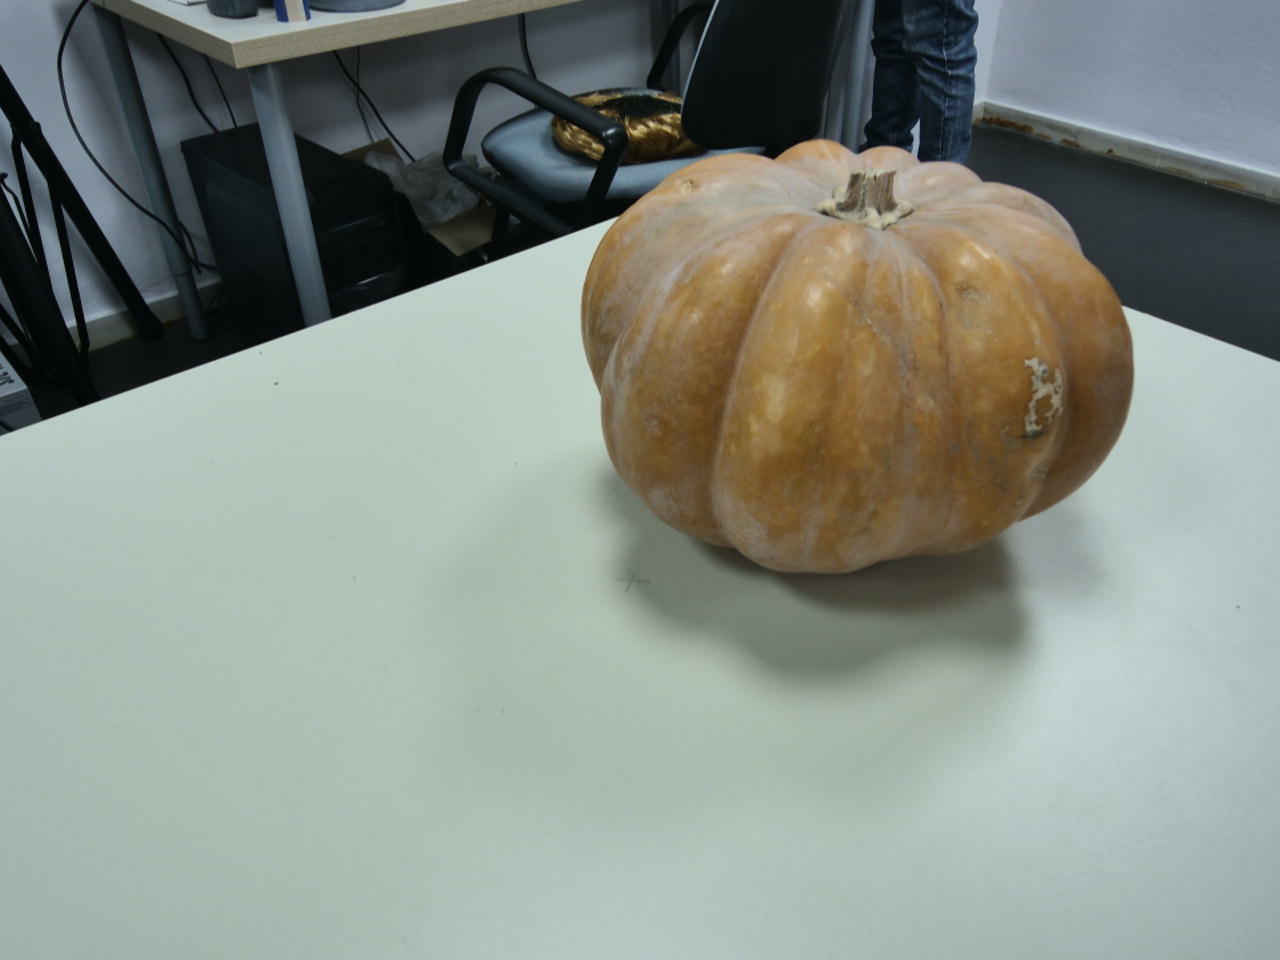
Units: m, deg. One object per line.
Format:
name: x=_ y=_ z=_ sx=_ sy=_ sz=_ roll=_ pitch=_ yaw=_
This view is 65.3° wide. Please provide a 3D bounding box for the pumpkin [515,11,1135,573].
pumpkin: x=0.100 y=-0.069 z=0.510 sx=0.277 sy=0.181 sz=0.277 roll=0 pitch=36 yaw=0
